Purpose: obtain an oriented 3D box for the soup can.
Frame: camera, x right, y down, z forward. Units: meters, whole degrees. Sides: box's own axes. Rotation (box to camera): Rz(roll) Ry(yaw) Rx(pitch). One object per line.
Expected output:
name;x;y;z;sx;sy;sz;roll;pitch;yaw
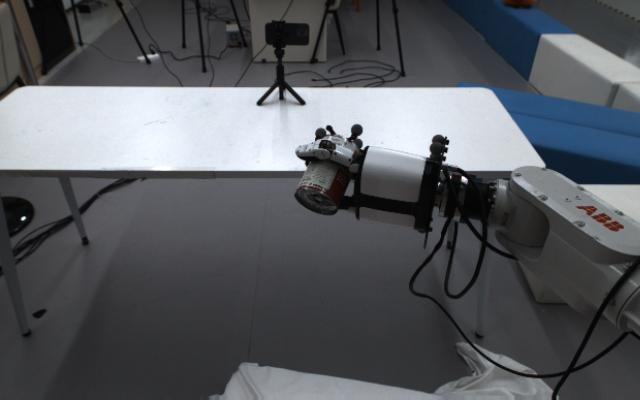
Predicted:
soup can;0.013;-0.038;0.713;0.067;0.067;0.101;15;63;18
